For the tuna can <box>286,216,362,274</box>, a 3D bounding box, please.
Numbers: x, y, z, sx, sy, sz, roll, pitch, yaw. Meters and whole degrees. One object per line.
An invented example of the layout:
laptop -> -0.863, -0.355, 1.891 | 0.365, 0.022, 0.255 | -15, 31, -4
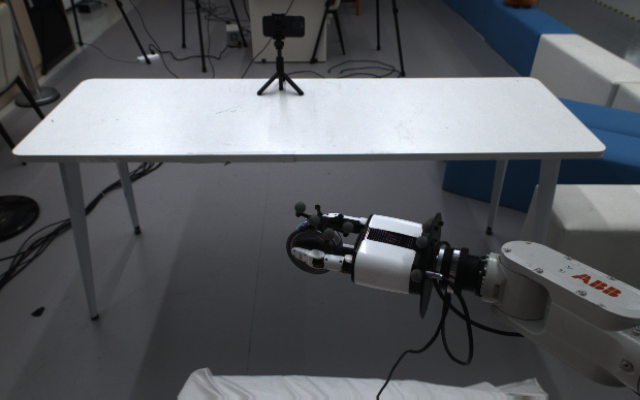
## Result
tuna can -> -0.007, 0.075, 0.770 | 0.085, 0.085, 0.034 | 13, 30, 15
